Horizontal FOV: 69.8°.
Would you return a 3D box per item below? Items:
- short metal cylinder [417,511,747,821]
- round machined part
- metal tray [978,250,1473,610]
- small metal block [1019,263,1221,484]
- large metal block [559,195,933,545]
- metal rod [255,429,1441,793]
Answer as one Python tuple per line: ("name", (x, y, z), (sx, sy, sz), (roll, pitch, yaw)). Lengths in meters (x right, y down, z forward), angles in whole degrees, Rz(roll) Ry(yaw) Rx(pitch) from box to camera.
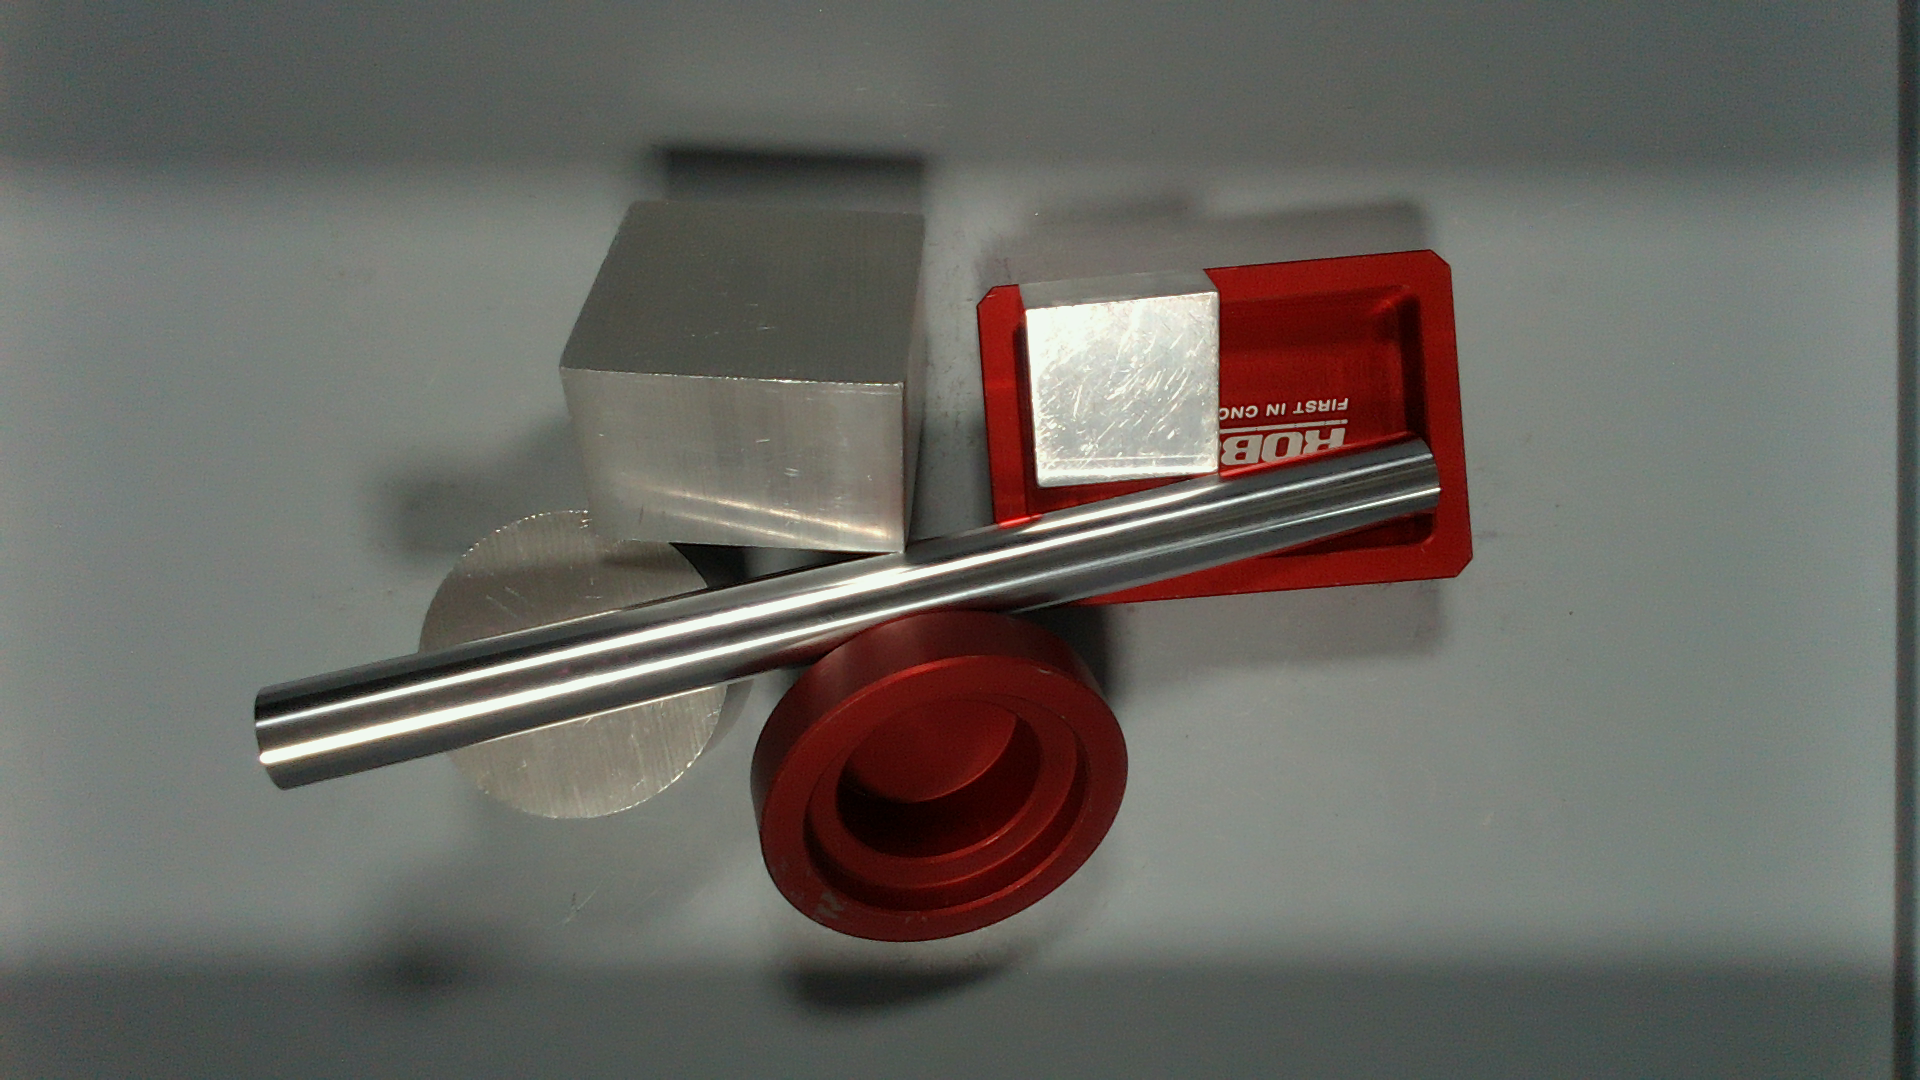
("short metal cylinder", (-0.101, 0.032, 0.381), (0.080, 0.050, 0.080), (0, 90, 0))
("round machined part", (-0.008, 0.059, 0.370), (0.098, 0.042, 0.098), (-8, 124, -12))
("metal tray", (0.073, -0.030, 0.391), (0.130, 0.030, 0.090), (-5, 90, 0))
("small metal block", (0.043, -0.045, 0.373), (0.050, 0.025, 0.050), (-5, 116, 0))
("large metal block", (-0.050, -0.046, 0.359), (0.080, 0.080, 0.050), (3, 133, 1))
("metal rod", (-0.018, 0.014, 0.353), (0.300, 0.025, 0.025), (-13, 90, -11))
